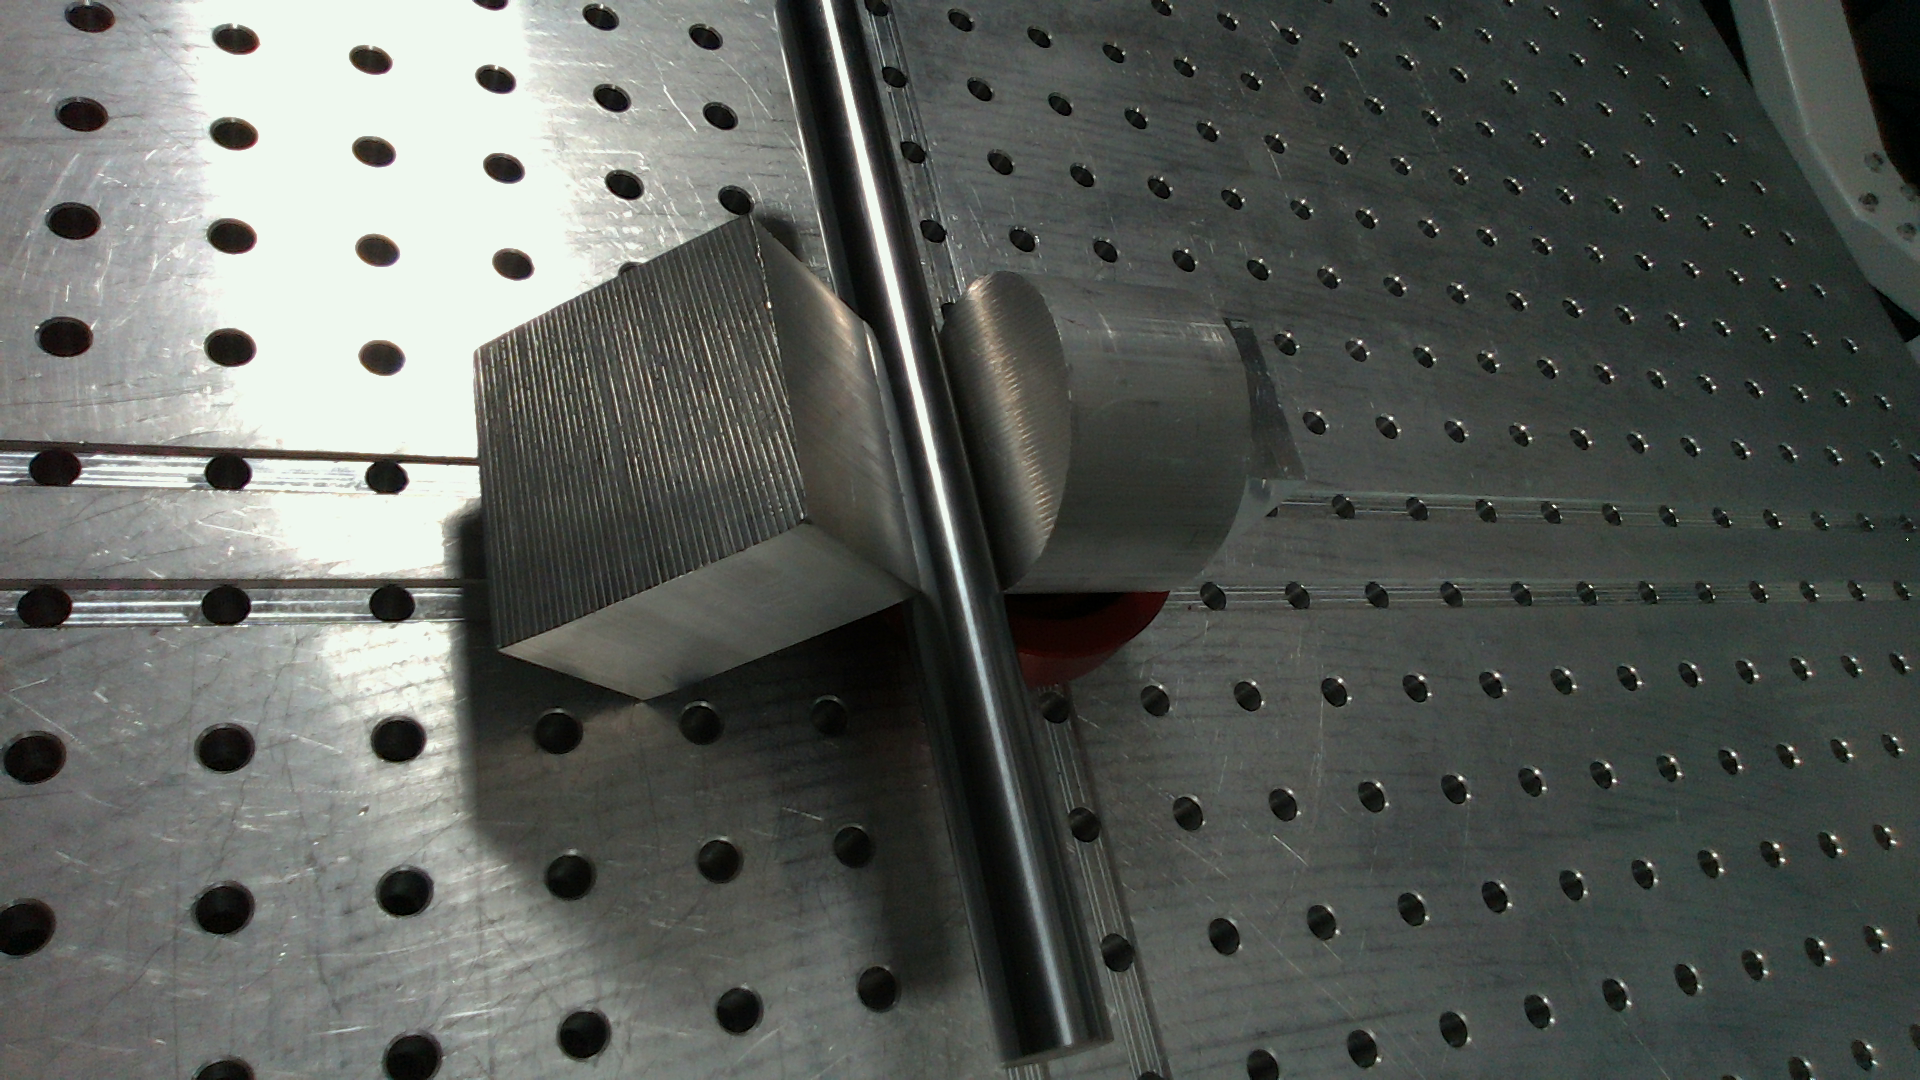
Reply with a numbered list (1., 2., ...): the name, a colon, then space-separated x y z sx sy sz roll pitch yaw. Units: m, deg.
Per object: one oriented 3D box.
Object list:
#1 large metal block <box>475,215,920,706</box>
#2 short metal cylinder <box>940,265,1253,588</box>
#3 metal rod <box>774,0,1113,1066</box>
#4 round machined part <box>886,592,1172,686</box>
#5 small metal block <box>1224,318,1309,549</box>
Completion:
1. large metal block: -0.063 -0.016 0.326 0.050 0.080 0.080 39 33 -59
2. short metal cylinder: 0.029 -0.027 0.351 0.050 0.080 0.080 1 61 -28
3. metal rod: -0.012 -0.026 0.349 0.025 0.025 0.300 1 61 -28
4. round machined part: 0.010 -0.004 0.388 0.098 0.042 0.098 14 56 -21
5. small metal block: 0.062 -0.025 0.371 0.025 0.050 0.050 1 61 -27
